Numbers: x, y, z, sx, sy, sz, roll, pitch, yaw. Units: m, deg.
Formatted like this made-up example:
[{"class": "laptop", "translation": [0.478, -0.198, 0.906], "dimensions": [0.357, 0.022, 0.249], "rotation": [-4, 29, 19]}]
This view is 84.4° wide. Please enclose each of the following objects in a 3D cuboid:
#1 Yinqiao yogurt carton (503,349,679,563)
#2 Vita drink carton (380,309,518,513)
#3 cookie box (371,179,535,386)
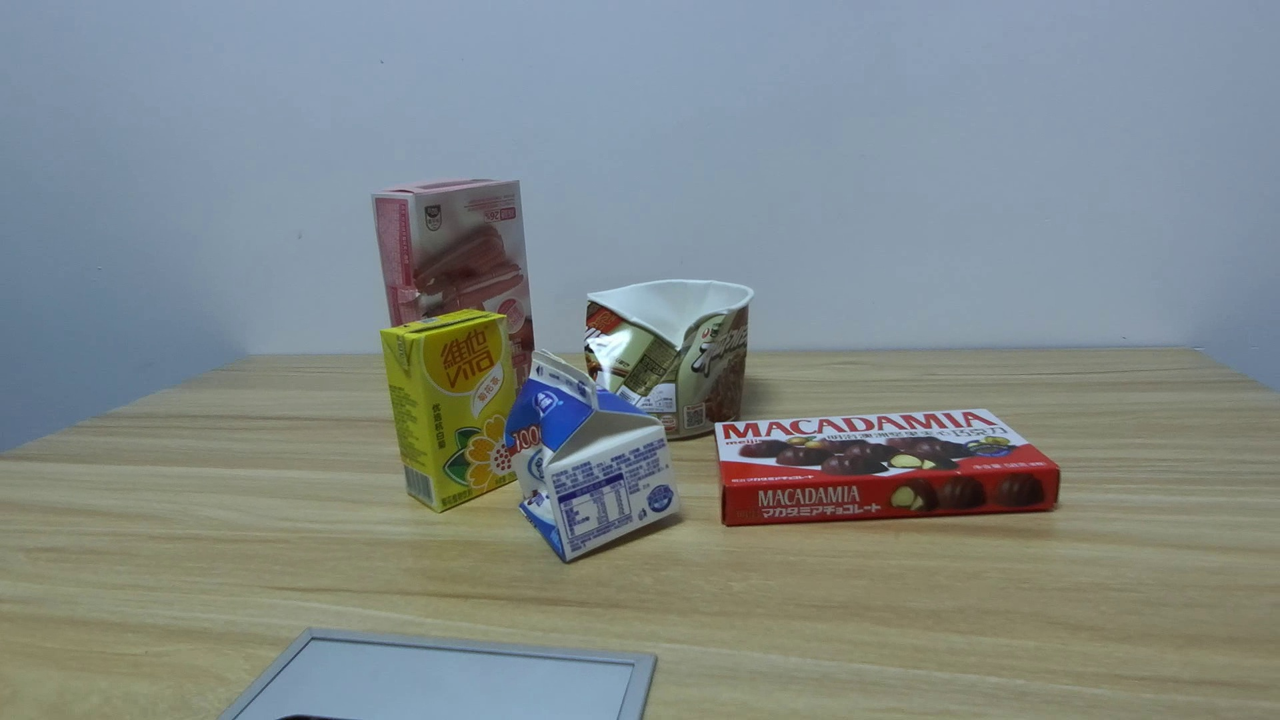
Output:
[{"class": "Yinqiao yogurt carton", "translation": [-0.031, 0.045, 0.388], "dimensions": [0.071, 0.094, 0.077], "rotation": [-17, 20, -25]}, {"class": "Vita drink carton", "translation": [-0.115, 0.028, 0.440], "dimensions": [0.043, 0.109, 0.067], "rotation": [13, 23, 41]}, {"class": "cookie box", "translation": [-0.131, -0.034, 0.516], "dimensions": [0.048, 0.187, 0.105], "rotation": [8, 21, 34]}]
